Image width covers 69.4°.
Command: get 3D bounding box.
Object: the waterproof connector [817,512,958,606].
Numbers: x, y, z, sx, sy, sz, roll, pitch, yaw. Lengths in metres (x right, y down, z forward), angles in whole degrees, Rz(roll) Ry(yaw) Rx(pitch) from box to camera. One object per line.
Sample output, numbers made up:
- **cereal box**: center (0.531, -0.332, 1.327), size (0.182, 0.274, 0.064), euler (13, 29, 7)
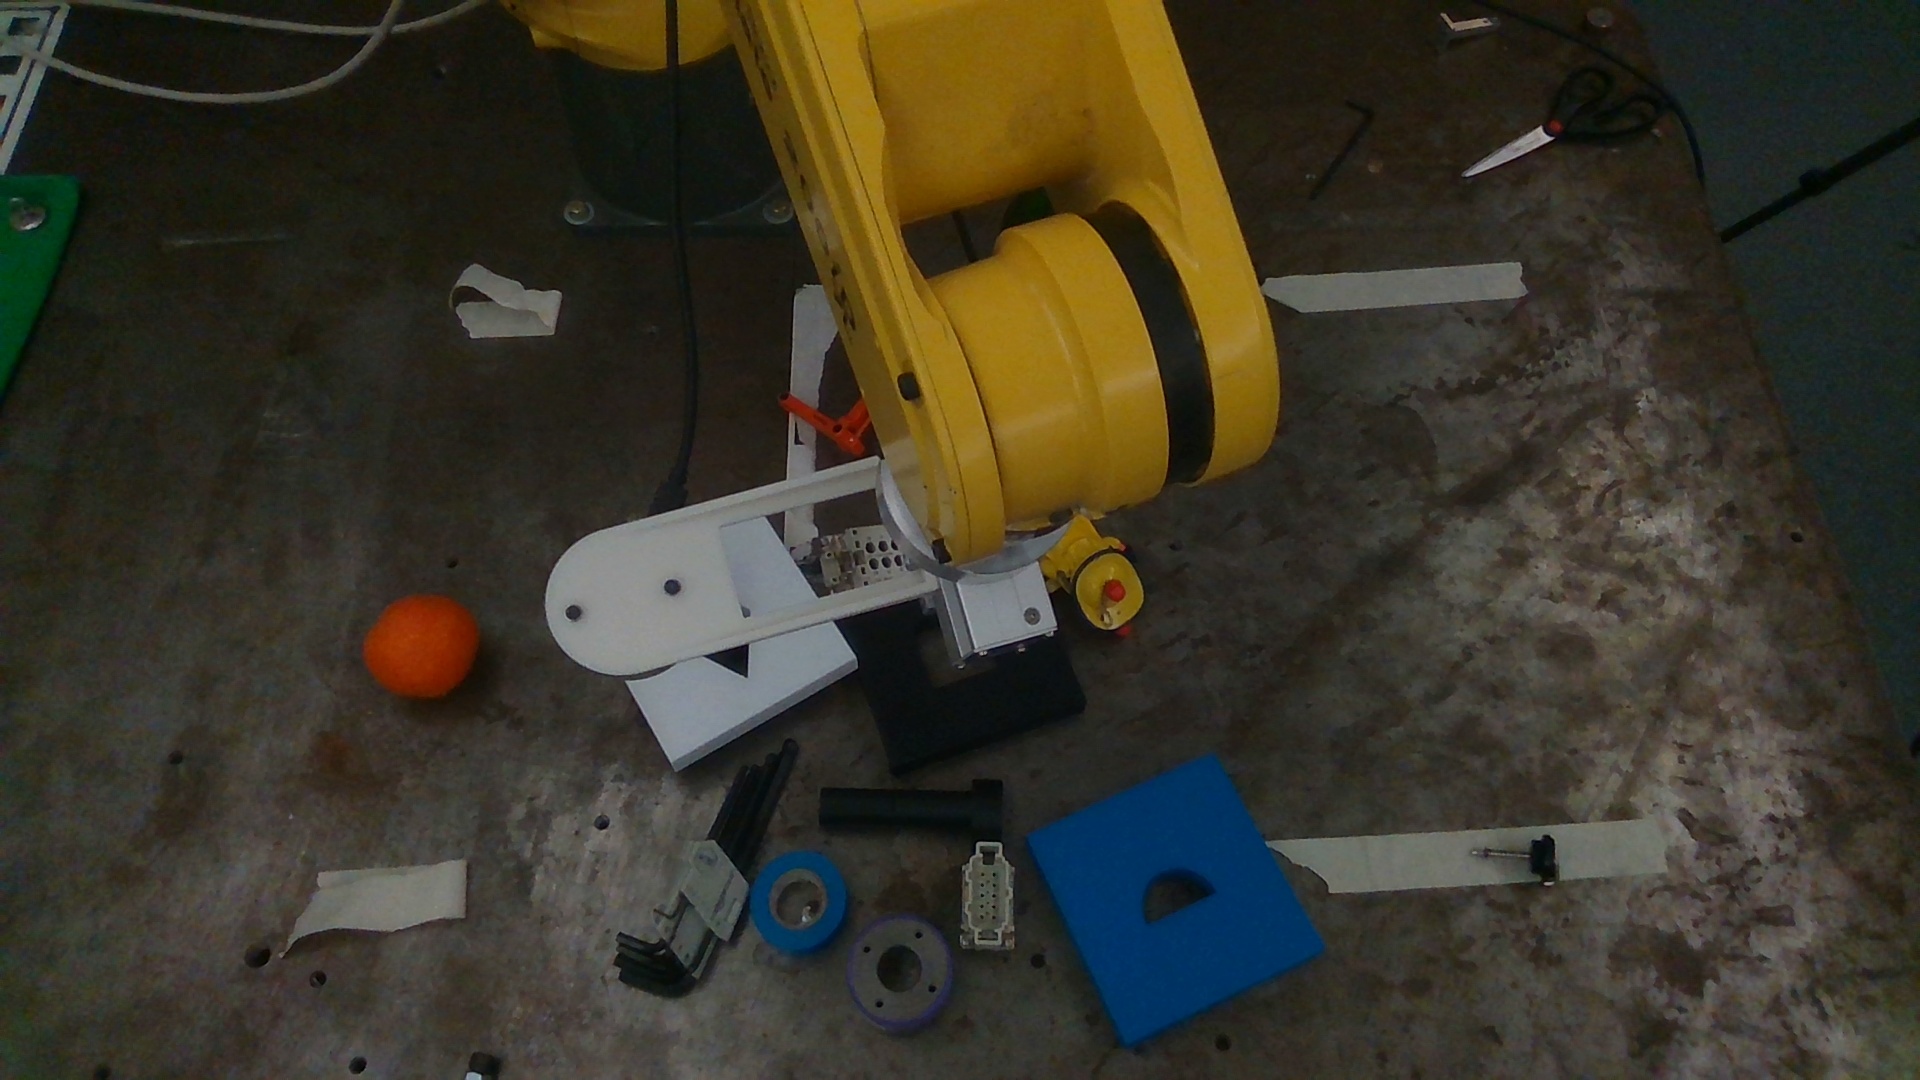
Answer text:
- **waterproof connector**: center (-0.035, 0.010, 0.696), size (0.069, 0.039, 0.037), euler (-11, 79, -26)
